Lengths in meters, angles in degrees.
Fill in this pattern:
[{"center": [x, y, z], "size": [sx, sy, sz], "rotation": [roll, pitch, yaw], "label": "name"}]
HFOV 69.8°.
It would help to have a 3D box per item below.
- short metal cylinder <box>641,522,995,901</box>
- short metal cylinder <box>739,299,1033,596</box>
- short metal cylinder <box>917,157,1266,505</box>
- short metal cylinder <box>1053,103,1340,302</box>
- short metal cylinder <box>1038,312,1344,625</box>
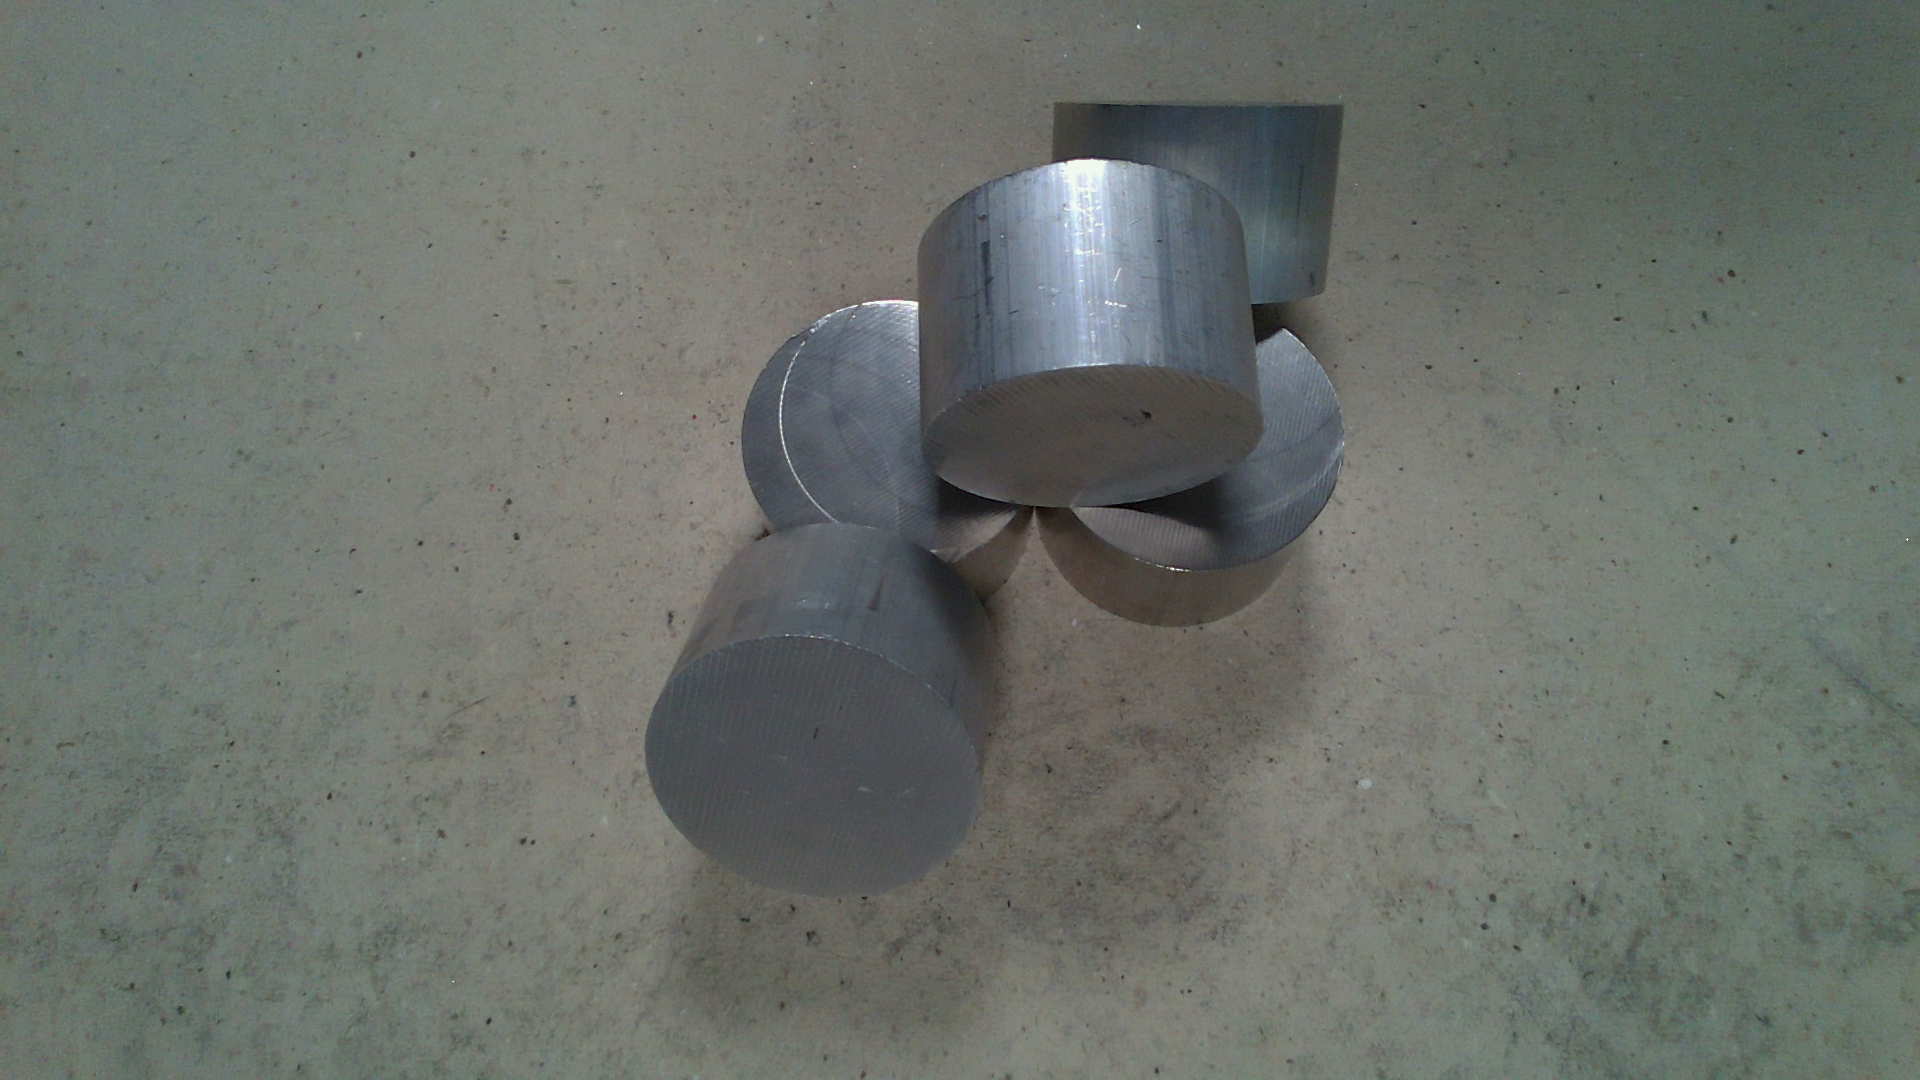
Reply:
[{"center": [-0.033, 0.043, 0.343], "size": [0.080, 0.080, 0.050], "rotation": [7, 31, 3], "label": "short metal cylinder"}, {"center": [-0.018, -0.020, 0.388], "size": [0.080, 0.050, 0.080], "rotation": [0, 70, 0], "label": "short metal cylinder"}, {"center": [0.030, -0.046, 0.329], "size": [0.080, 0.080, 0.050], "rotation": [-2, 70, 0], "label": "short metal cylinder"}, {"center": [0.066, -0.099, 0.394], "size": [0.080, 0.080, 0.050], "rotation": [0, 108, 0], "label": "short metal cylinder"}, {"center": [0.062, -0.021, 0.389], "size": [0.080, 0.050, 0.080], "rotation": [0, 70, 0], "label": "short metal cylinder"}]
